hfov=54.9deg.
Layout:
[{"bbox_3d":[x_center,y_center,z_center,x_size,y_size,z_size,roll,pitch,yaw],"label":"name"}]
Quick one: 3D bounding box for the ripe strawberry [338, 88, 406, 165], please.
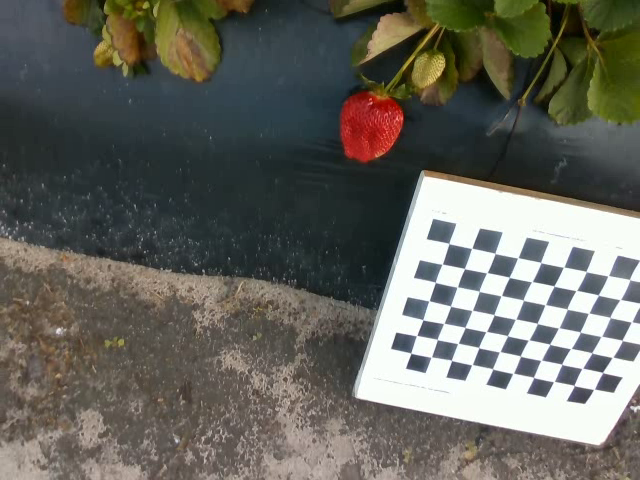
[{"bbox_3d":[0.046,-0.108,0.587,0.067,0.075,0.039,16,25,-2],"label":"ripe strawberry"}]
